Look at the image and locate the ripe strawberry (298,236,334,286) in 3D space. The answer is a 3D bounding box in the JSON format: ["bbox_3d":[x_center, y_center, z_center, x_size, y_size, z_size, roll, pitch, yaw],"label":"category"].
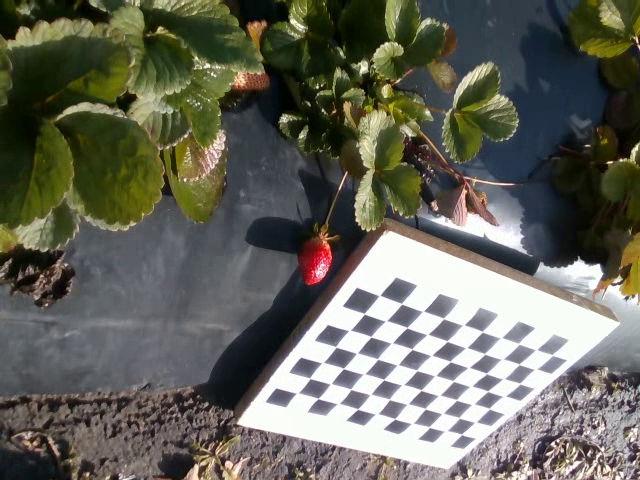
[{"bbox_3d":[-0.005,0.017,0.437,0.034,0.038,0.033,19,-19,-25],"label":"ripe strawberry"}]
